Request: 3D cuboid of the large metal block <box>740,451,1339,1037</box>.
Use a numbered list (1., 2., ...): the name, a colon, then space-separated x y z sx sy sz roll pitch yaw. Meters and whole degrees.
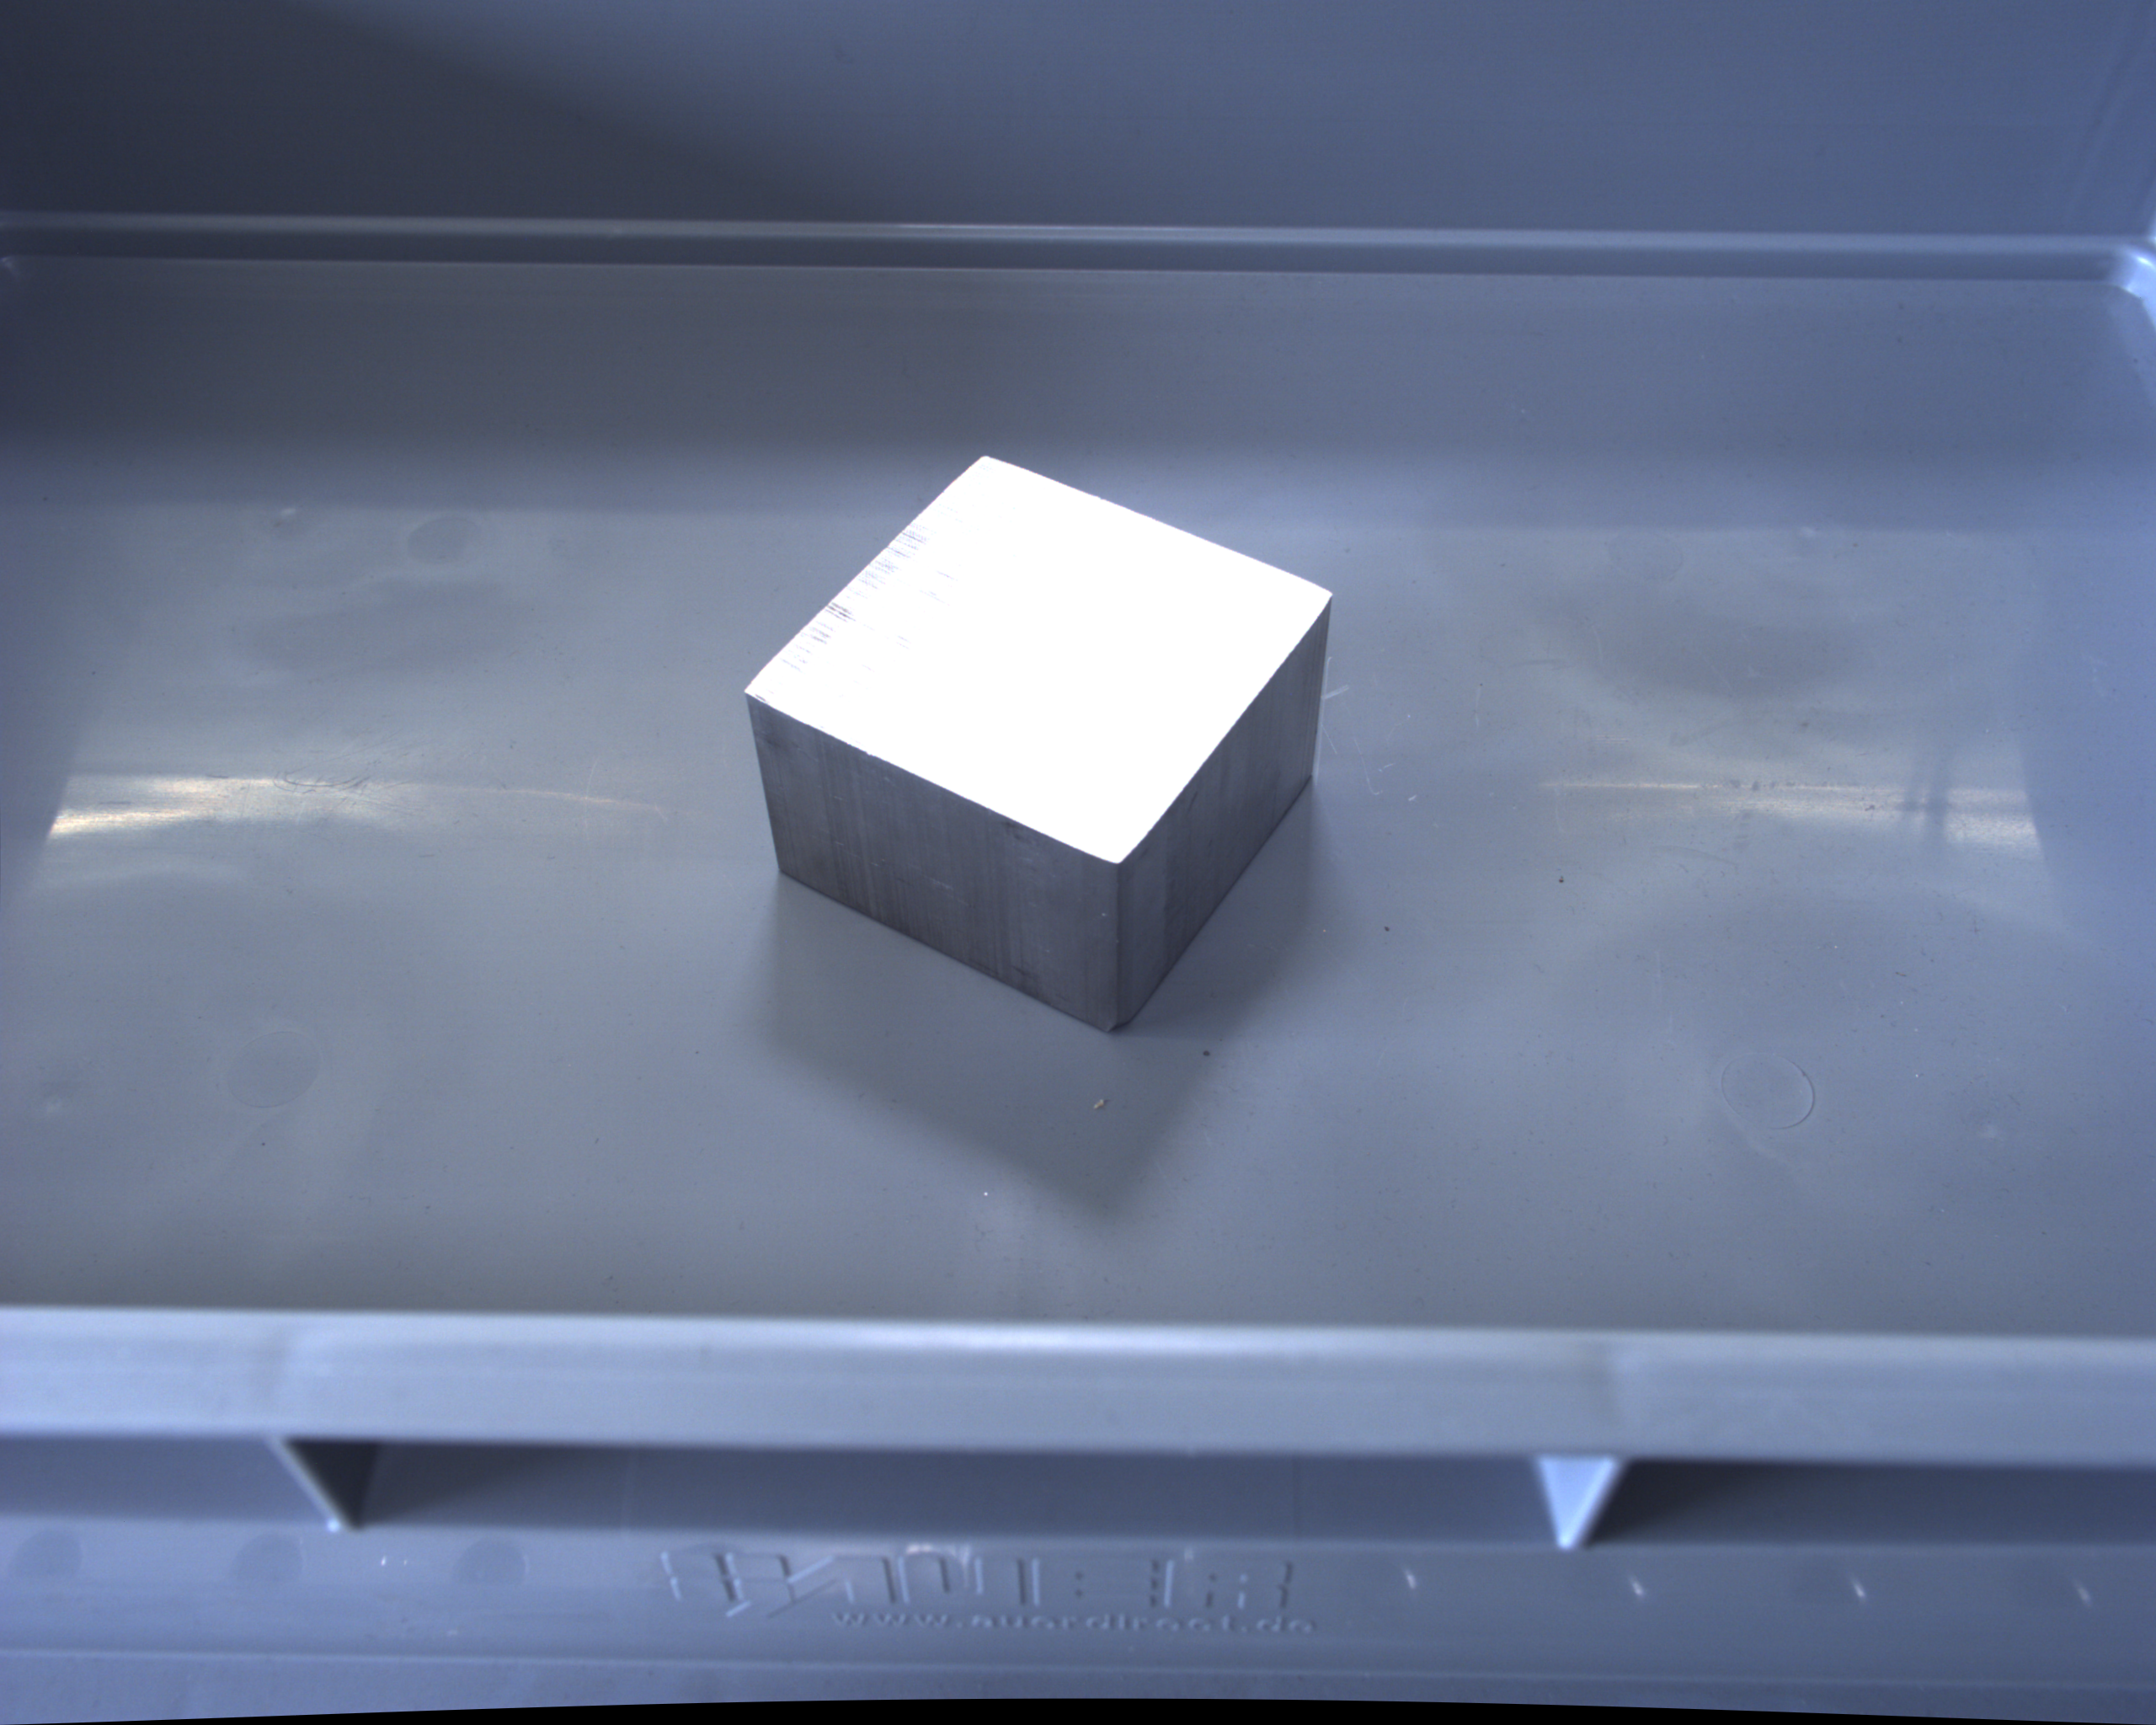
1. large metal block: -0.006 -0.025 0.406 0.080 0.050 0.080 25 54 19
